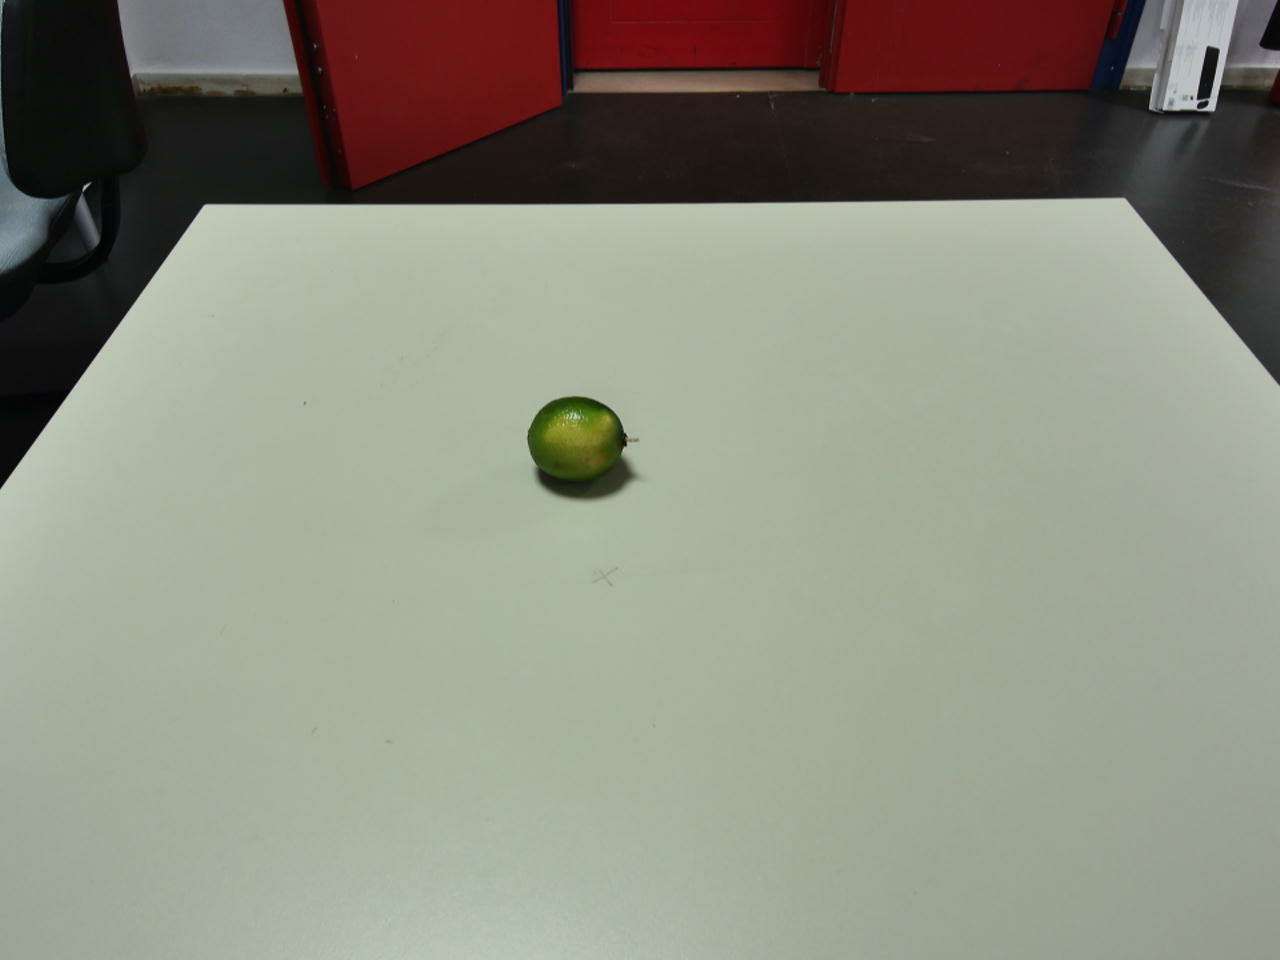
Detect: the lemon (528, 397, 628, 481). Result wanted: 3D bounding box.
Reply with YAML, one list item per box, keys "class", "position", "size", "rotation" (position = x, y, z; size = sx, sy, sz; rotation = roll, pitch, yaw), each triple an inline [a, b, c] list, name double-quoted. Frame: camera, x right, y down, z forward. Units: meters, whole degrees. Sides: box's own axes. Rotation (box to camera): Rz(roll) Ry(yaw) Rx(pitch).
- class: "lemon"
  position: [-0.039, -0.025, 0.606]
  size: [0.054, 0.050, 0.055]
  rotation: [-26, 47, -30]
